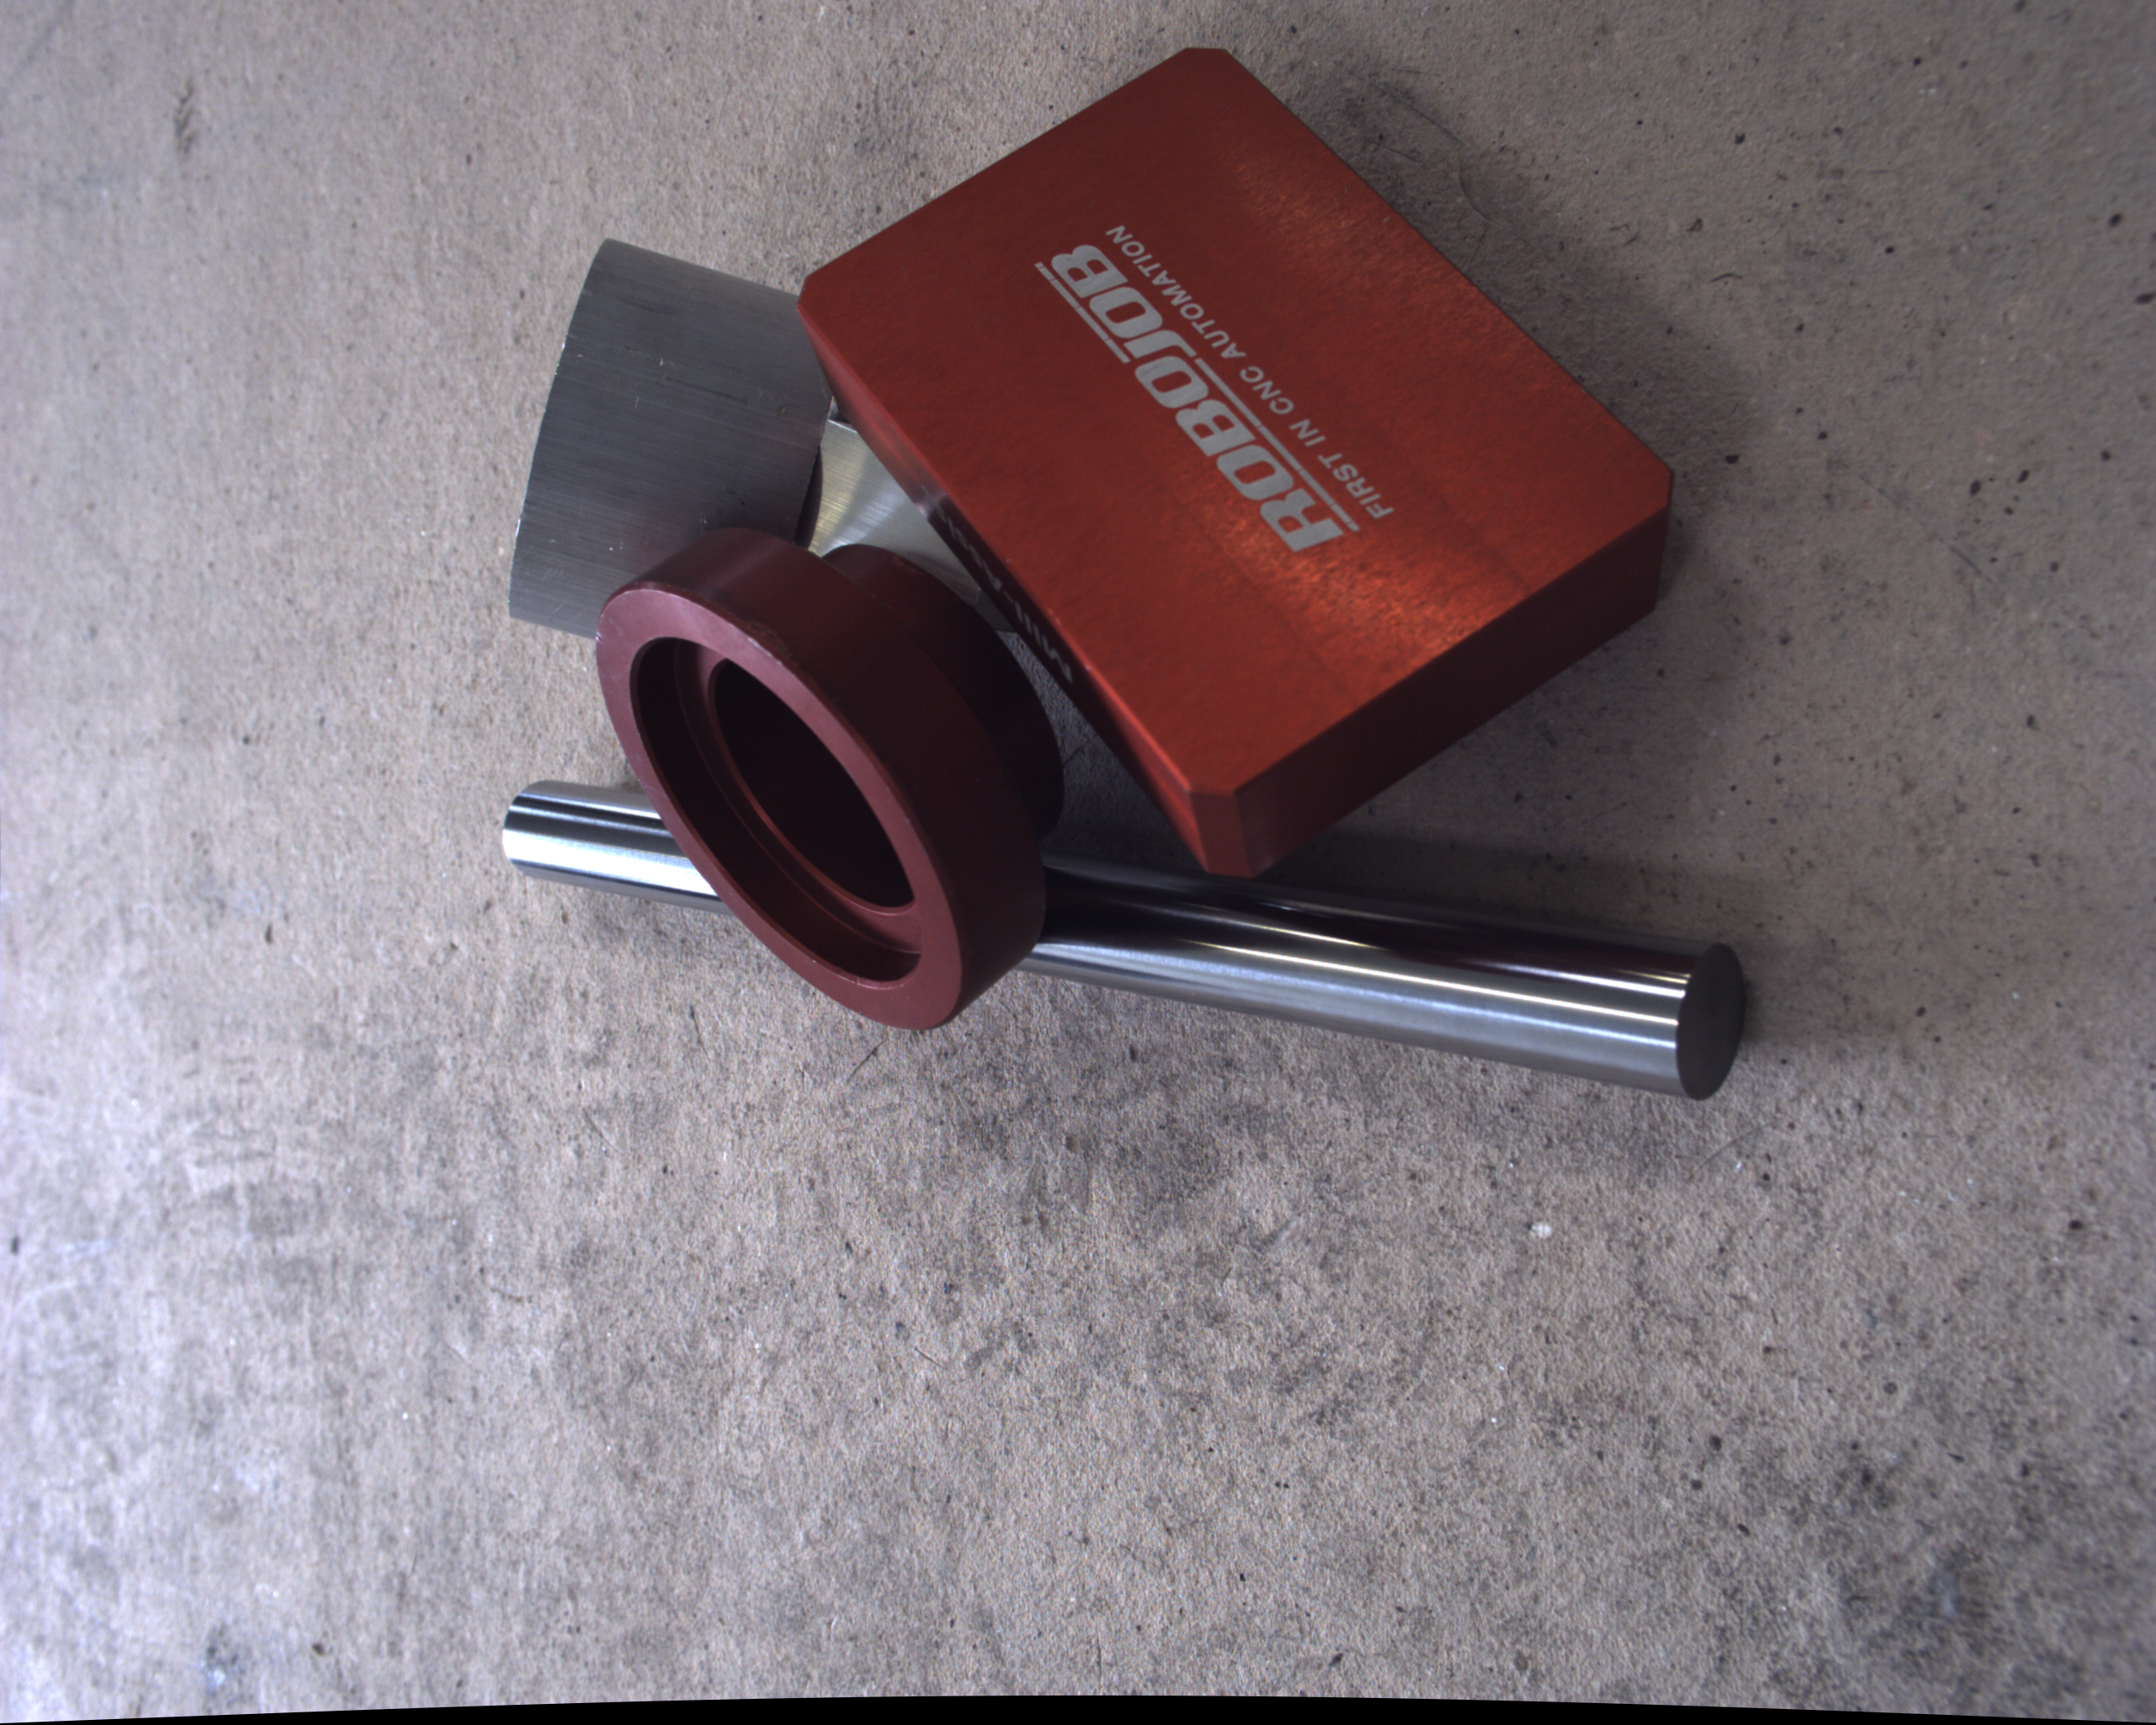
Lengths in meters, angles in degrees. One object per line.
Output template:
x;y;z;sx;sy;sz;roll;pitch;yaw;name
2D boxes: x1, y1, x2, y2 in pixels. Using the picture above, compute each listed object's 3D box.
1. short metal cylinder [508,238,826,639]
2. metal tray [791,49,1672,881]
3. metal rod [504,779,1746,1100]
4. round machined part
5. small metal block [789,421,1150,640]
-0.082;-0.082;0.432;0.080;0.050;0.080;-164;89;-79;short metal cylinder
0.023;-0.071;0.351;0.090;0.030;0.130;-34;63;-7;metal tray
-0.016;0.008;0.420;0.300;0.025;0.025;8;95;39;metal rod
-0.041;-0.020;0.389;0.098;0.042;0.097;35;148;26;round machined part
-0.019;-0.063;0.404;0.050;0.050;0.025;30;109;36;small metal block
